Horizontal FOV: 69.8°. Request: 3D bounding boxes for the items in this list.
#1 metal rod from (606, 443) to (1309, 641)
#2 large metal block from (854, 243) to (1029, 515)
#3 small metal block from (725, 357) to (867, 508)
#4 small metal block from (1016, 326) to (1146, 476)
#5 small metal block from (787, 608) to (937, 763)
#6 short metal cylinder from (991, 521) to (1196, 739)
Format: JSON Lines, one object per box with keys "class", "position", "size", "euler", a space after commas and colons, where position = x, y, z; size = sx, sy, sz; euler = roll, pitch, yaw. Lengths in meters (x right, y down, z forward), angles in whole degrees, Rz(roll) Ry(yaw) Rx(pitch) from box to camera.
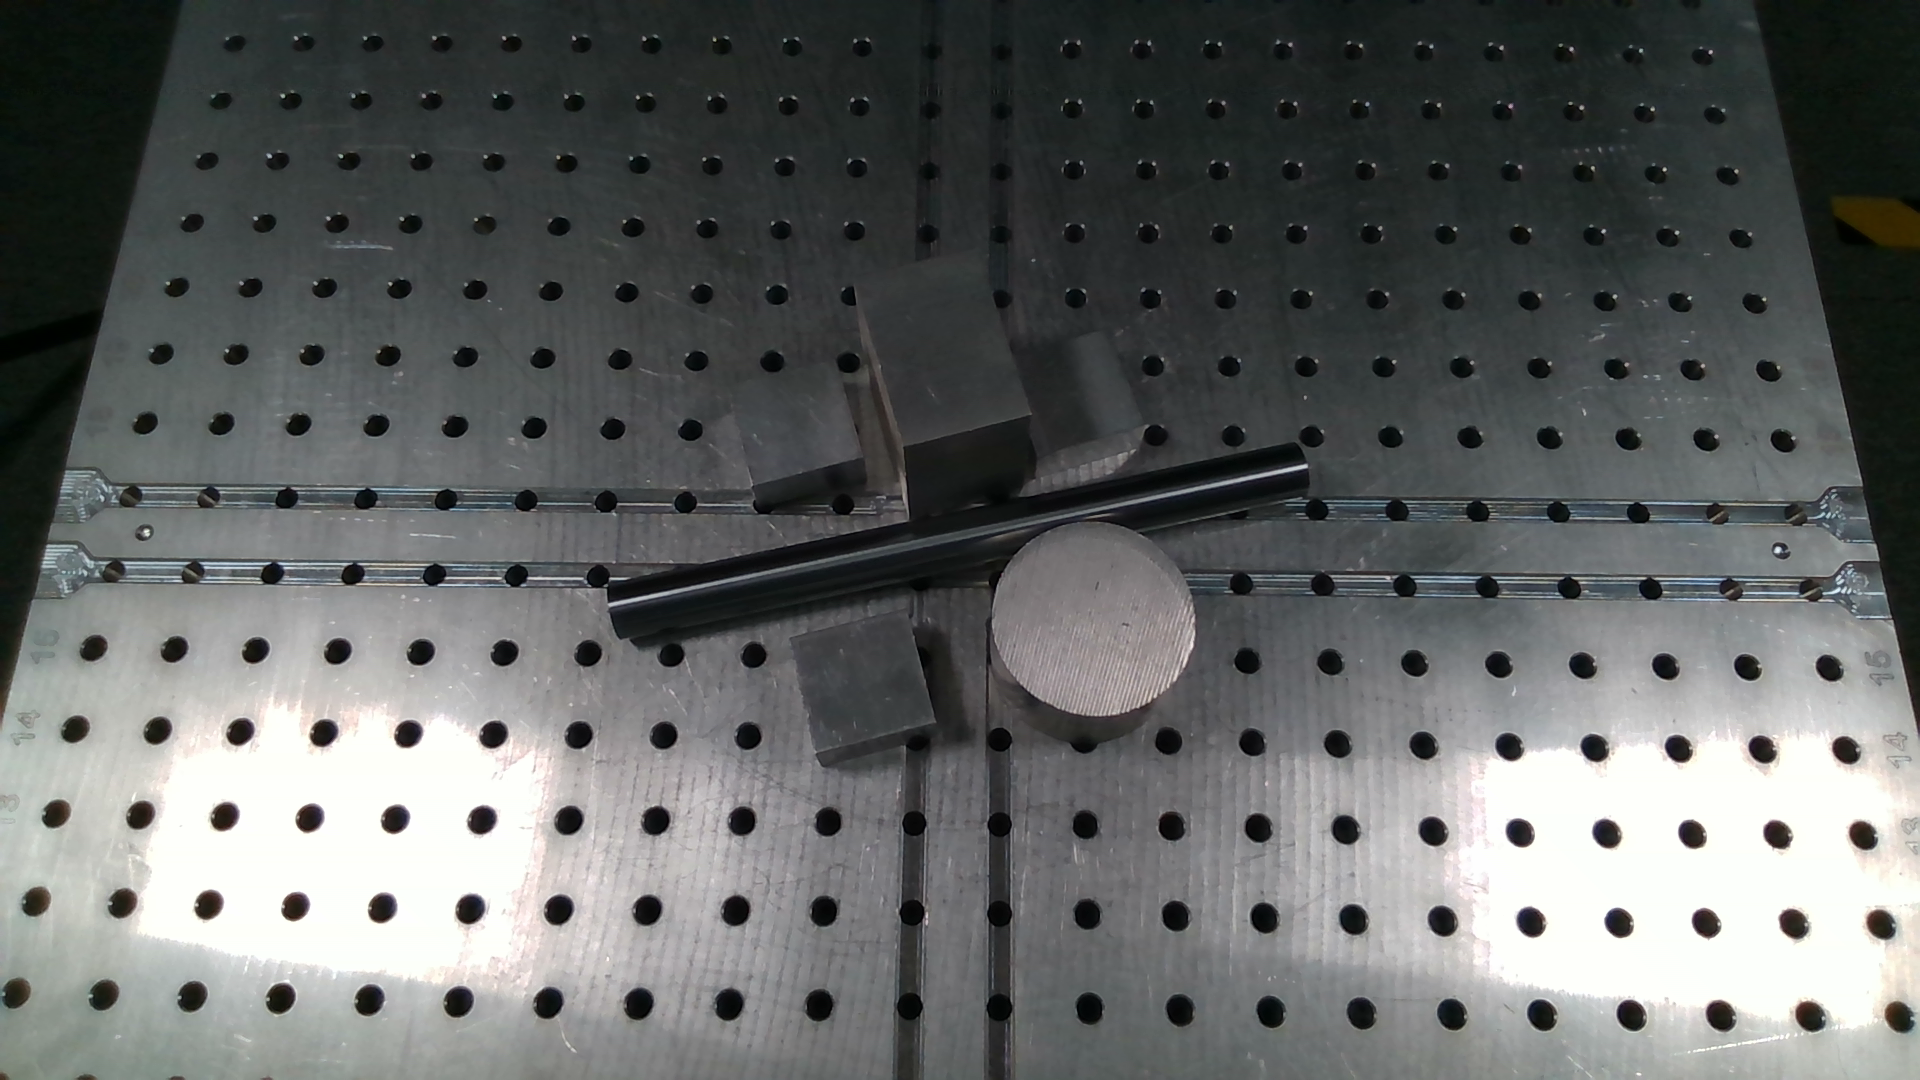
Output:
{"class": "metal rod", "position": [0.001, 0.000, 0.590], "size": [0.300, 0.025, 0.025], "euler": [-12, 71, -4]}
{"class": "large metal block", "position": [-0.008, -0.065, 0.583], "size": [0.050, 0.080, 0.080], "euler": [-15, 71, -5]}
{"class": "small metal block", "position": [-0.072, -0.048, 0.608], "size": [0.050, 0.025, 0.050], "euler": [-15, 71, -5]}
{"class": "small metal block", "position": [0.049, -0.061, 0.613], "size": [0.050, 0.025, 0.050], "euler": [-17, 71, -6]}
{"class": "small metal block", "position": [-0.040, 0.061, 0.569], "size": [0.050, 0.025, 0.050], "euler": [-14, 71, -5]}
{"class": "short metal cylinder", "position": [0.053, 0.039, 0.563], "size": [0.080, 0.050, 0.080], "euler": [0, 70, 0]}
